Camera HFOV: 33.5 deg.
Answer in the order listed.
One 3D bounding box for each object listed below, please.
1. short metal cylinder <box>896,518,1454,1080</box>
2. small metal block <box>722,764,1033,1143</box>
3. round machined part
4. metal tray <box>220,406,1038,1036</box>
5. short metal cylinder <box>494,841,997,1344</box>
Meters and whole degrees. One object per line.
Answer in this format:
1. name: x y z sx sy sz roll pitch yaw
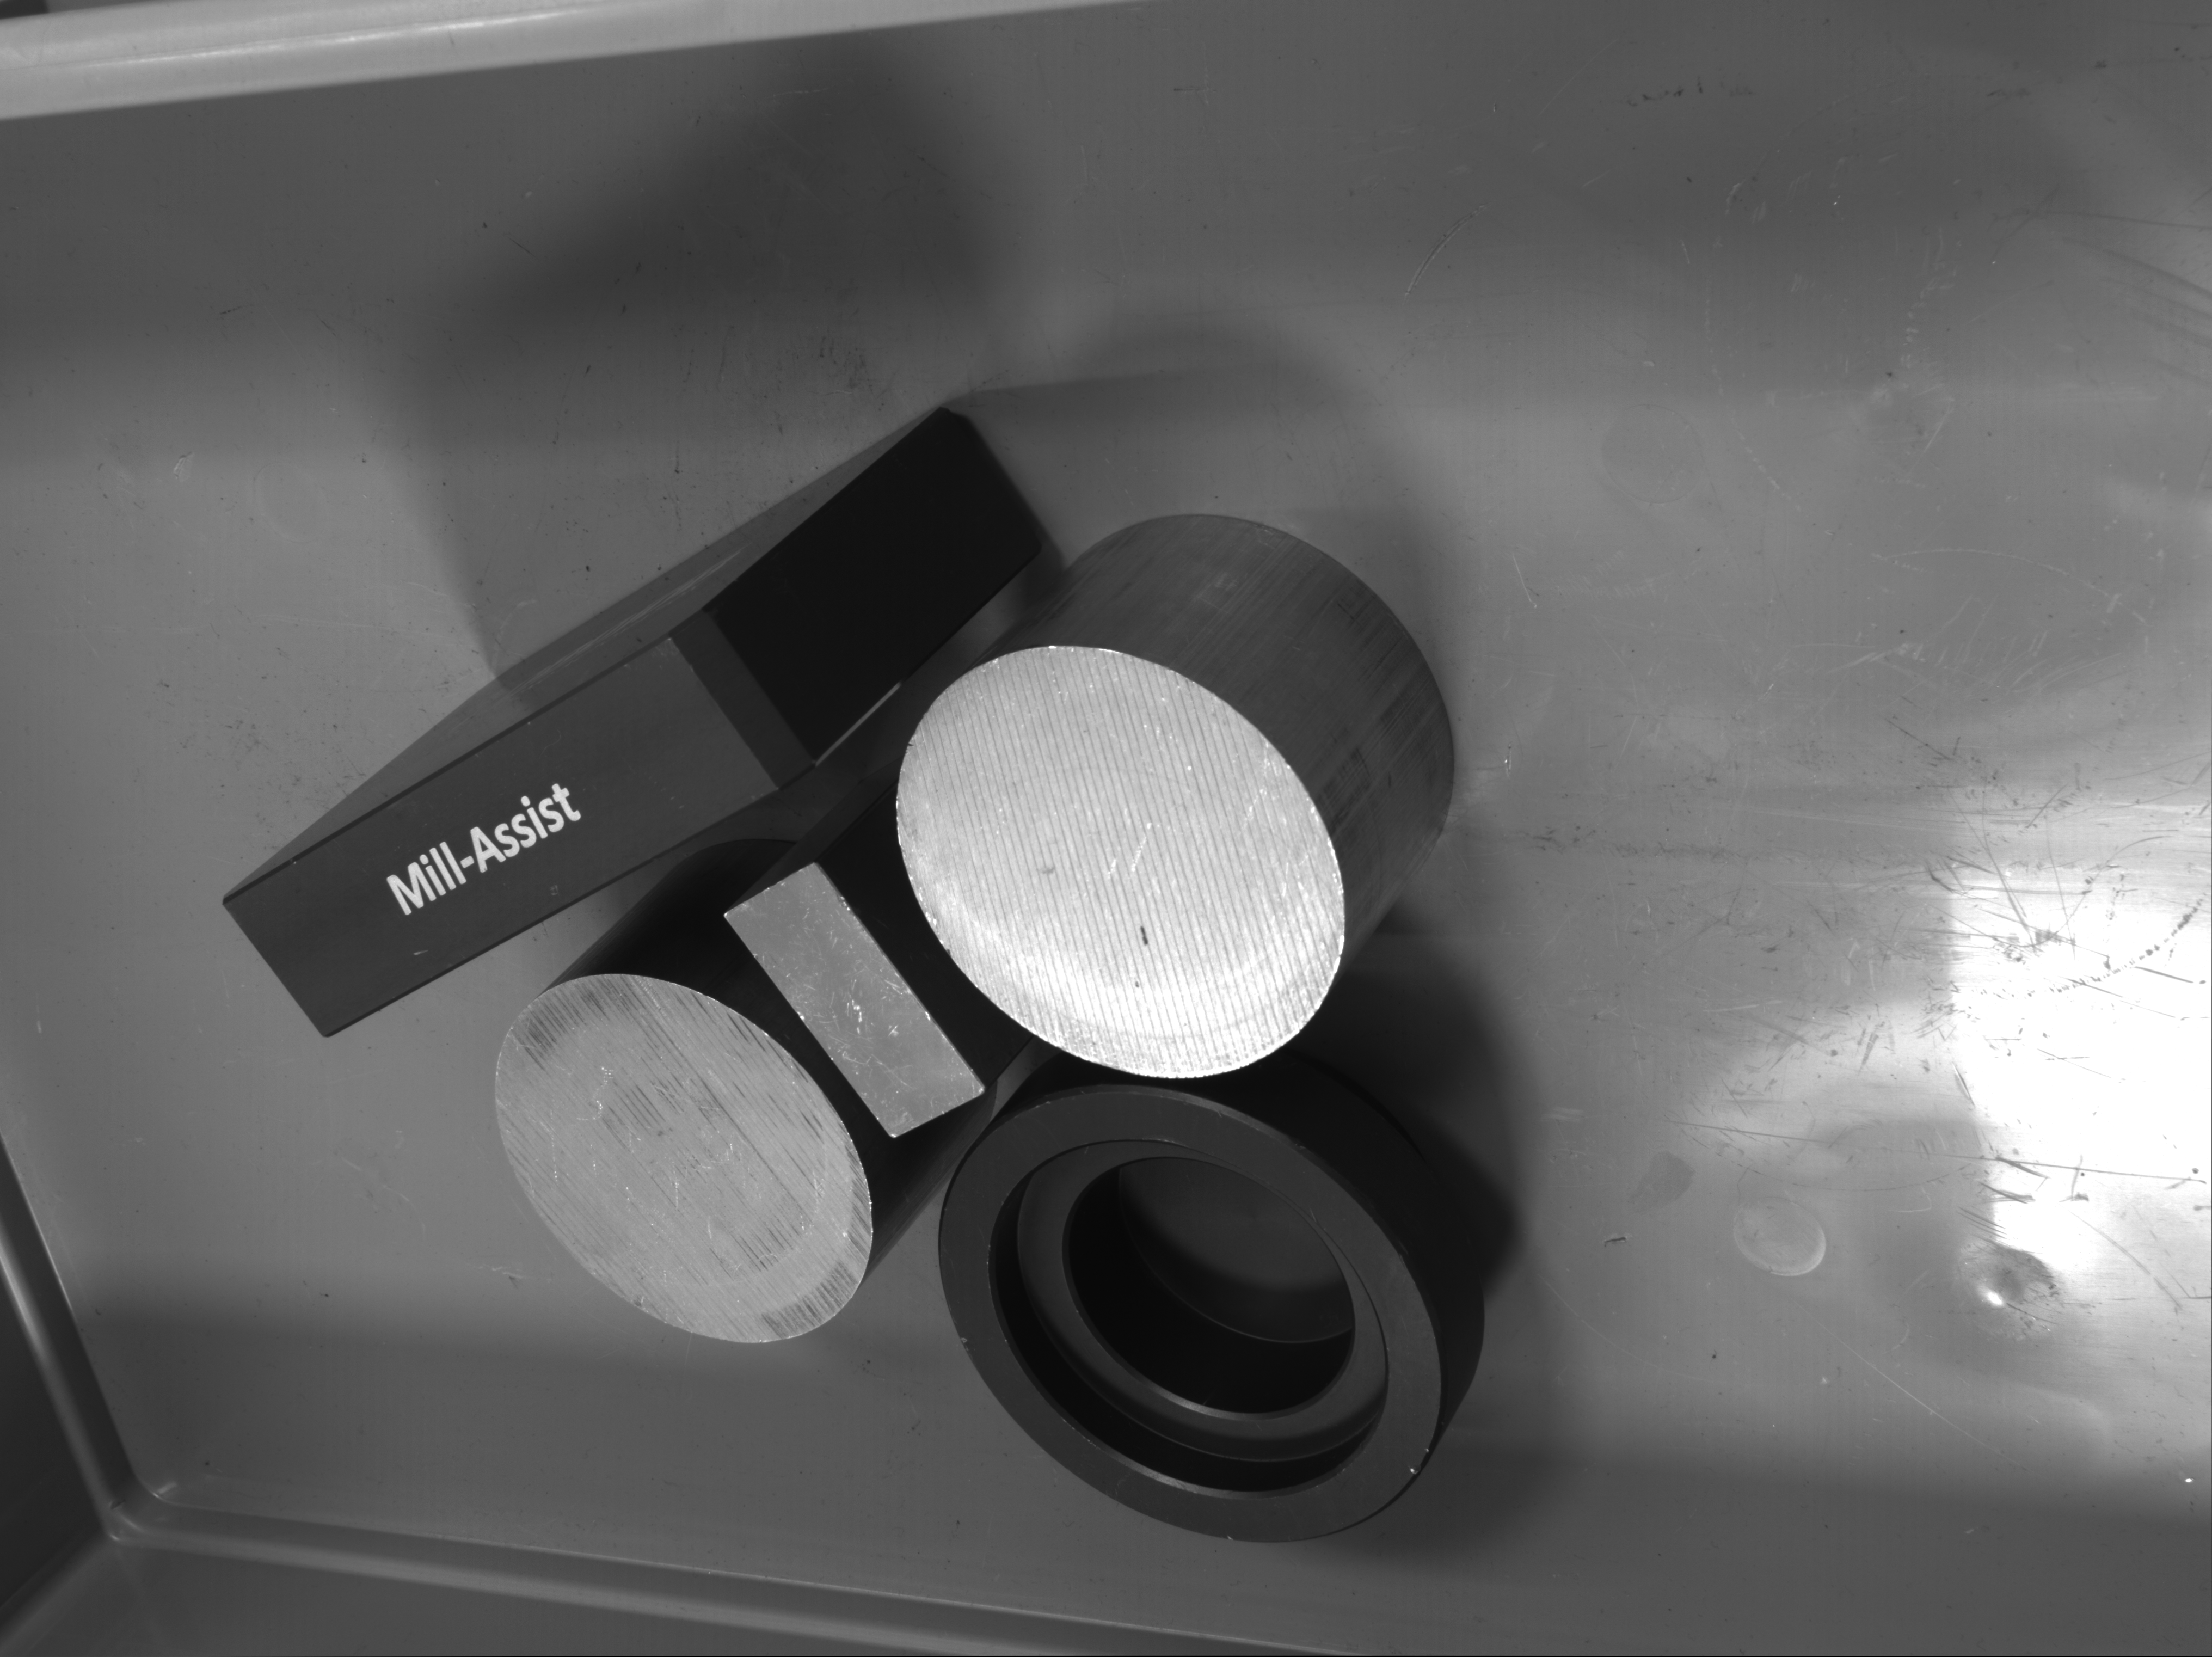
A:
1. short metal cylinder: 0.012 -0.005 0.615 0.080 0.050 0.080 13 124 21
2. small metal block: -0.033 0.019 0.654 0.025 0.050 0.050 -28 103 37
3. round machined part: 0.023 0.078 0.665 0.098 0.042 0.098 13 124 21
4. metal tray: -0.083 -0.018 0.632 0.130 0.090 0.030 -26 104 38
5. short metal cylinder: -0.067 0.049 0.691 0.080 0.050 0.080 13 124 21
